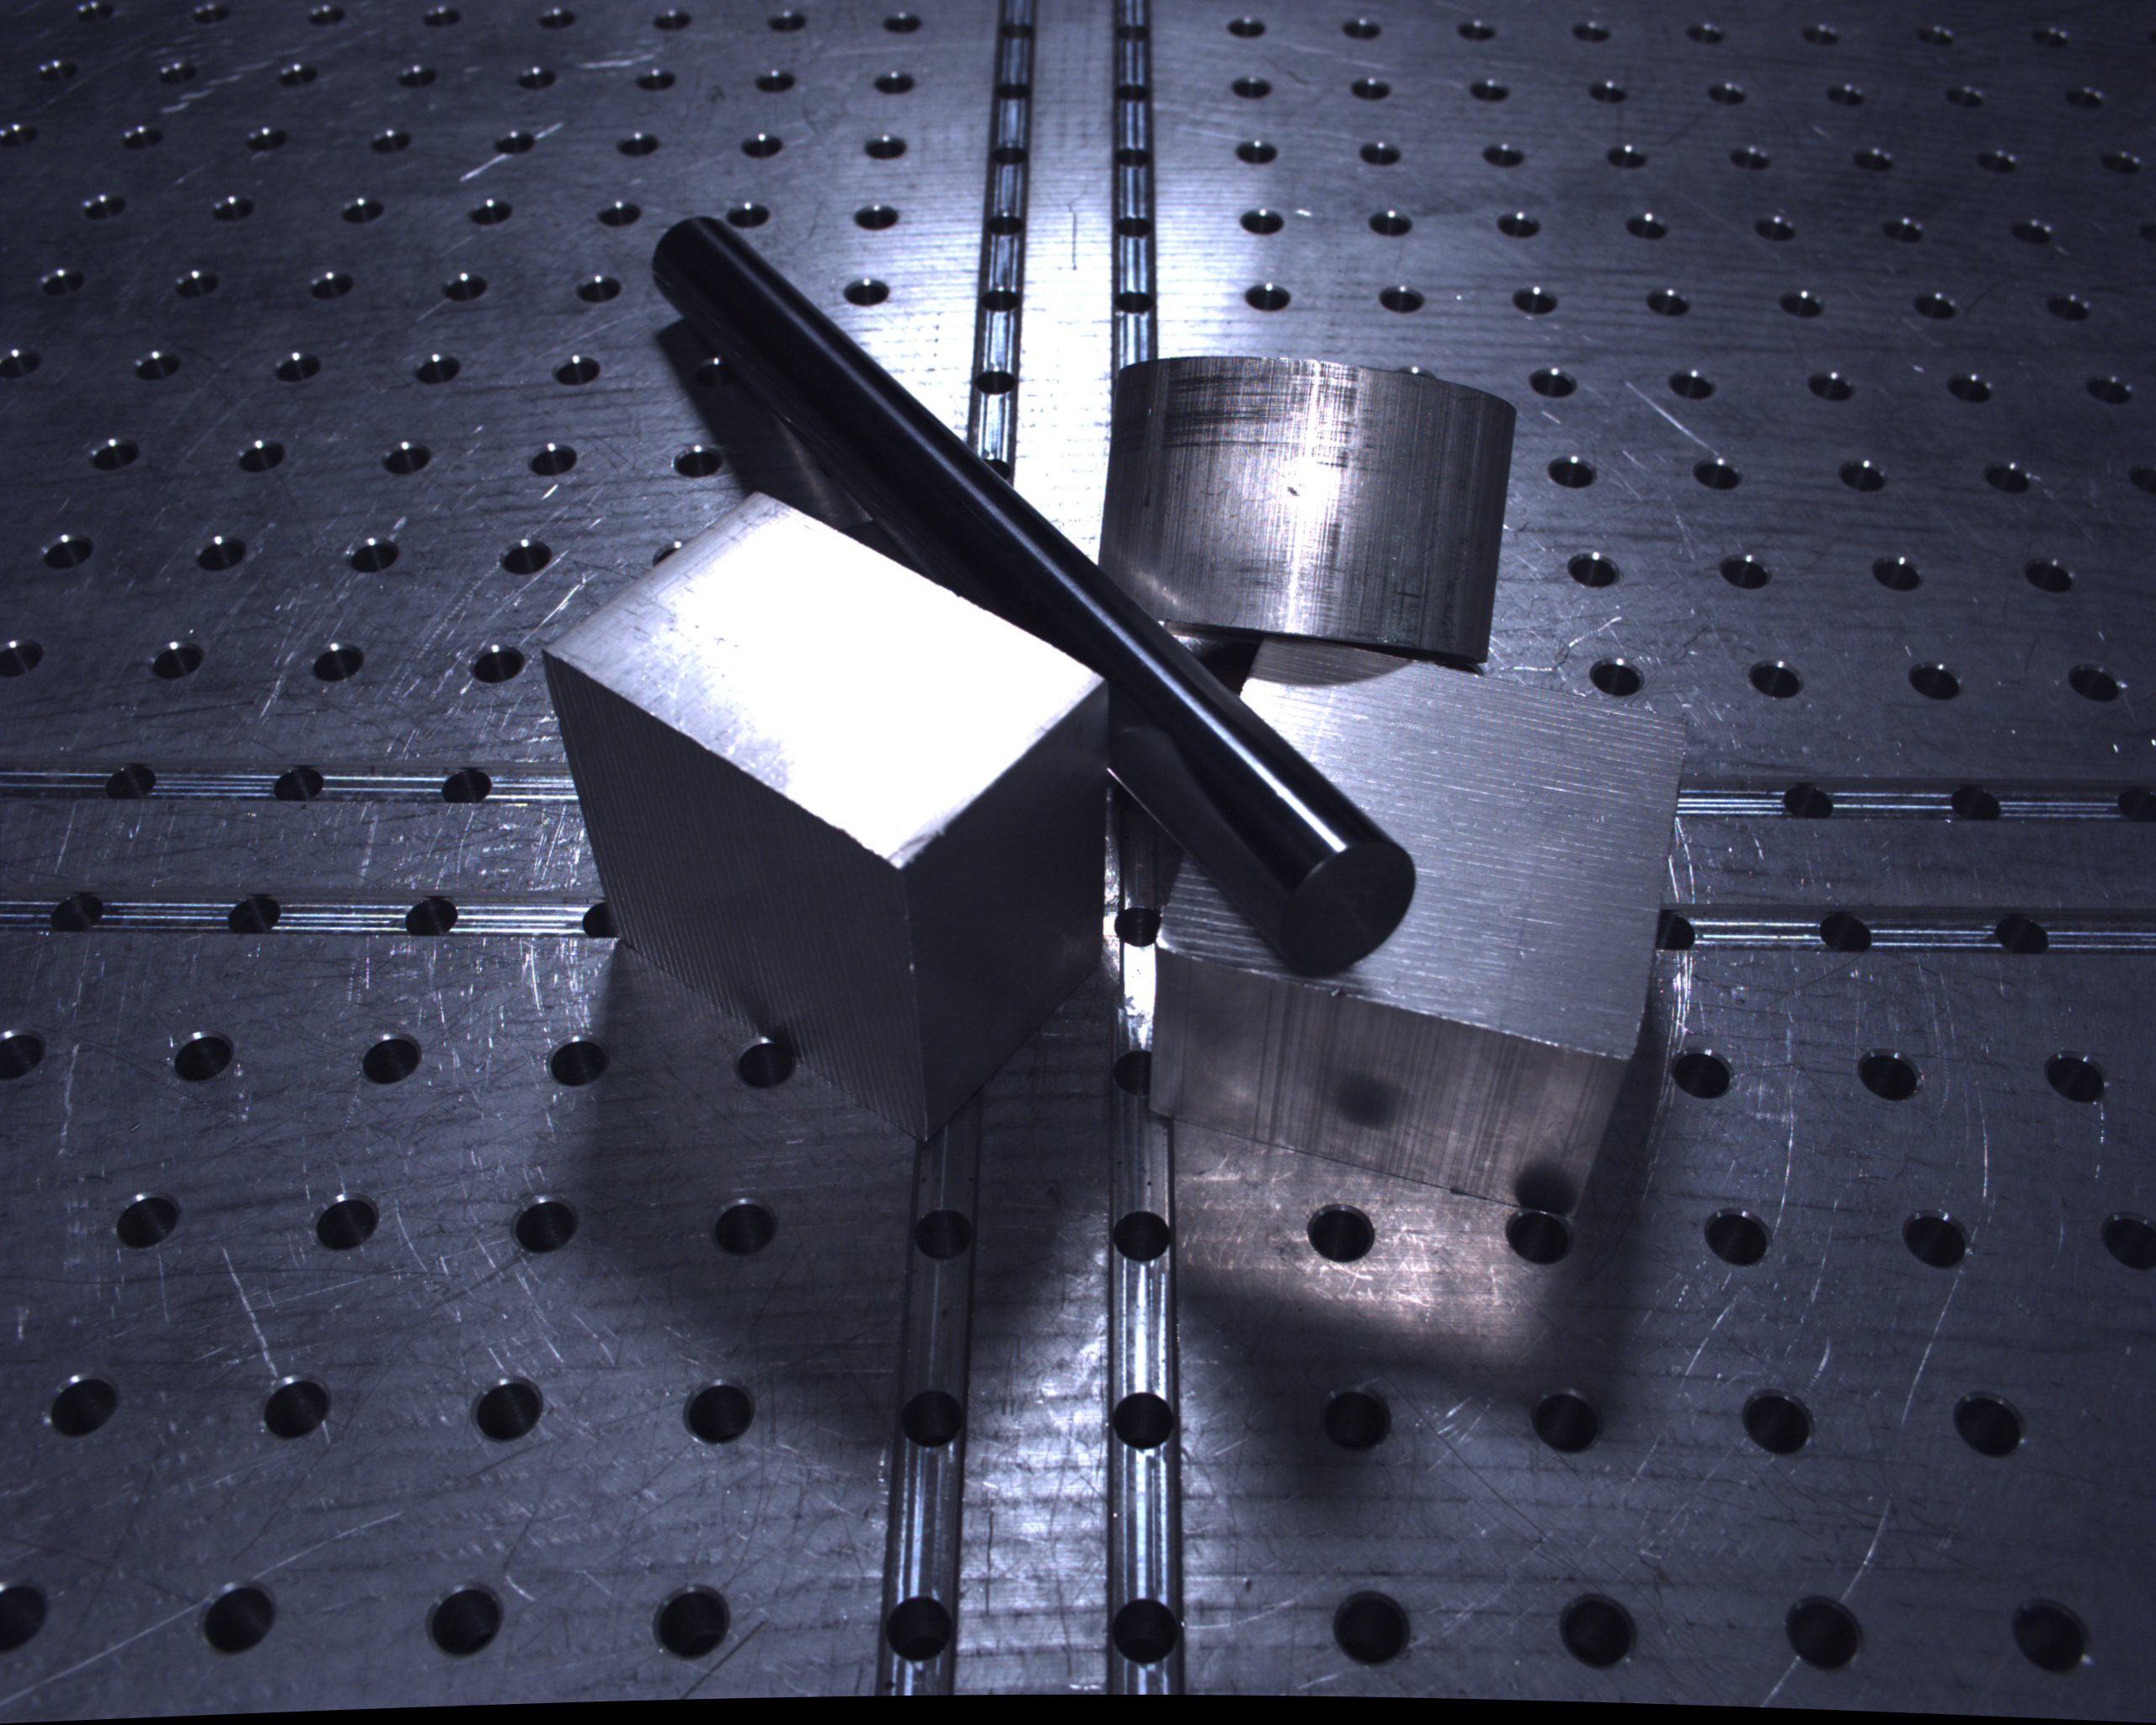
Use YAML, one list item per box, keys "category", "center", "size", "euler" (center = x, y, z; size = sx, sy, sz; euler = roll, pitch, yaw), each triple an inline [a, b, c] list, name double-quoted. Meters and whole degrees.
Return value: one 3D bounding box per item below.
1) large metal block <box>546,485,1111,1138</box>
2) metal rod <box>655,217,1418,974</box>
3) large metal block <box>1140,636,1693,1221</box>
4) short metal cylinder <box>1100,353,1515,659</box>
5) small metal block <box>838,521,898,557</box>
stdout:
- category: "large metal block"
  center: [-0.042, -0.009, 0.378]
  size: [0.080, 0.080, 0.050]
  euler: [30, 56, 22]
- category: "metal rod"
  center: [-0.027, -0.073, 0.430]
  size: [0.025, 0.025, 0.300]
  euler: [-22, 42, -18]
- category: "large metal block"
  center: [0.062, 0.010, 0.383]
  size: [0.080, 0.050, 0.080]
  euler: [14, 51, 11]
- category: "short metal cylinder"
  center: [0.045, -0.070, 0.422]
  size: [0.080, 0.080, 0.050]
  euler: [7, 94, 5]
- category: "small metal block"
  center: [-0.040, -0.047, 0.447]
  size: [0.050, 0.025, 0.050]
  euler: [-19, 53, -16]
